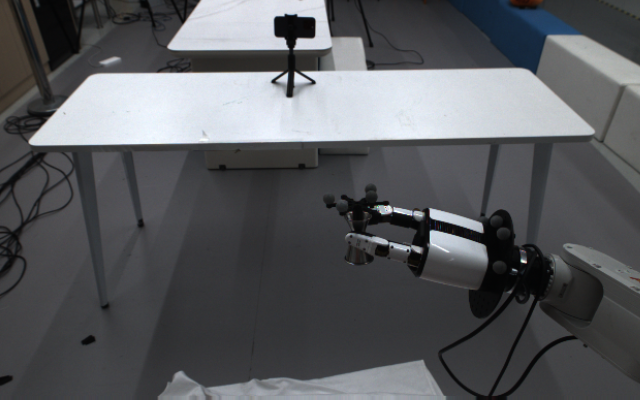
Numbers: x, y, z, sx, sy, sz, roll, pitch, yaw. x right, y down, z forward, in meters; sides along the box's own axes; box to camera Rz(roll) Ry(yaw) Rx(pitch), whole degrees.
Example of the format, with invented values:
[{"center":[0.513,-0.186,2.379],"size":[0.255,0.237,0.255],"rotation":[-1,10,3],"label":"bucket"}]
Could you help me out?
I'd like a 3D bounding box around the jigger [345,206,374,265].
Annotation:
[{"center":[0.056,0.054,0.700],"size":[0.043,0.071,0.043],"rotation":[-2,19,1],"label":"jigger"}]
